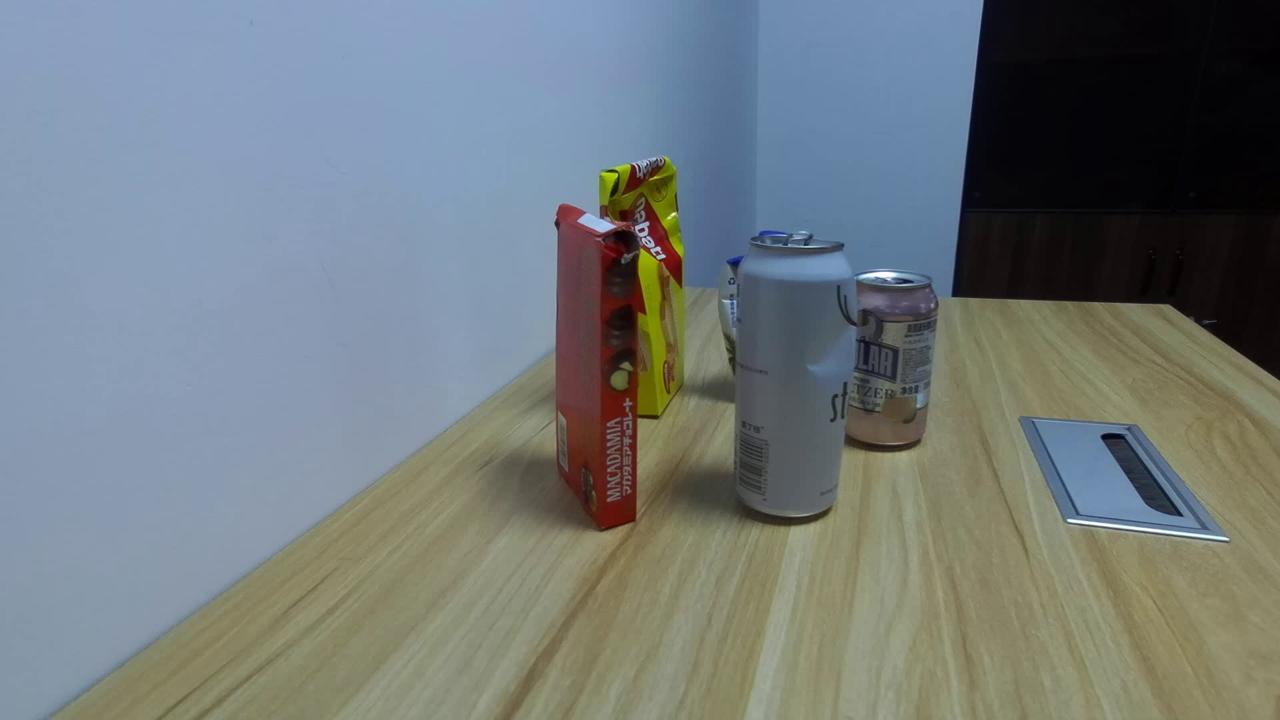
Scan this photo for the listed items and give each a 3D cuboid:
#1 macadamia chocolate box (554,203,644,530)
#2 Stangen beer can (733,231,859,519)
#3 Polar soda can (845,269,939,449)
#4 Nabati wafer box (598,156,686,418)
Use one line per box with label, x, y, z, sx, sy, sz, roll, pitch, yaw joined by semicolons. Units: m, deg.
macadamia chocolate box;-0.029;0.002;0.449;0.027;0.187;0.102;-6;19;-23
Stangen beer can;0.094;0.009;0.432;0.069;0.173;0.070;3;18;14
Polar soda can;0.184;-0.001;0.528;0.067;0.125;0.067;-2;17;1
Nabati wafer box;0.007;-0.060;0.596;0.042;0.205;0.113;3;20;19
